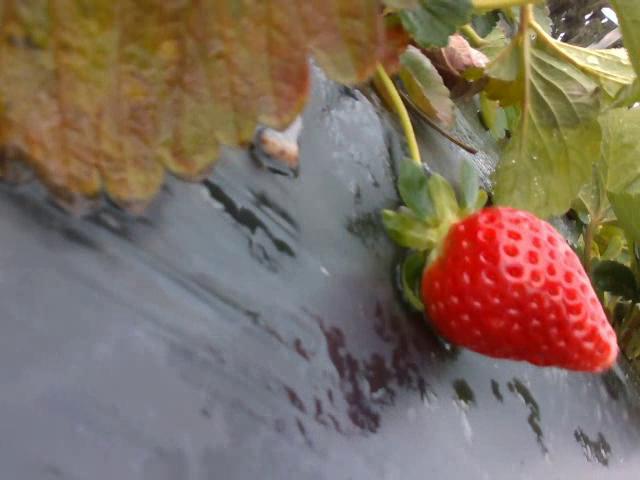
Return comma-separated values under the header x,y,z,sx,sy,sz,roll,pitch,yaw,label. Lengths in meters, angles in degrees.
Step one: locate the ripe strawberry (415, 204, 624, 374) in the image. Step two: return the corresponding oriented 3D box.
x,y,z,sx,sy,sz,roll,pitch,yaw,label
0.051,0.015,0.151,0.045,0.048,0.054,-3,42,-35,ripe strawberry
